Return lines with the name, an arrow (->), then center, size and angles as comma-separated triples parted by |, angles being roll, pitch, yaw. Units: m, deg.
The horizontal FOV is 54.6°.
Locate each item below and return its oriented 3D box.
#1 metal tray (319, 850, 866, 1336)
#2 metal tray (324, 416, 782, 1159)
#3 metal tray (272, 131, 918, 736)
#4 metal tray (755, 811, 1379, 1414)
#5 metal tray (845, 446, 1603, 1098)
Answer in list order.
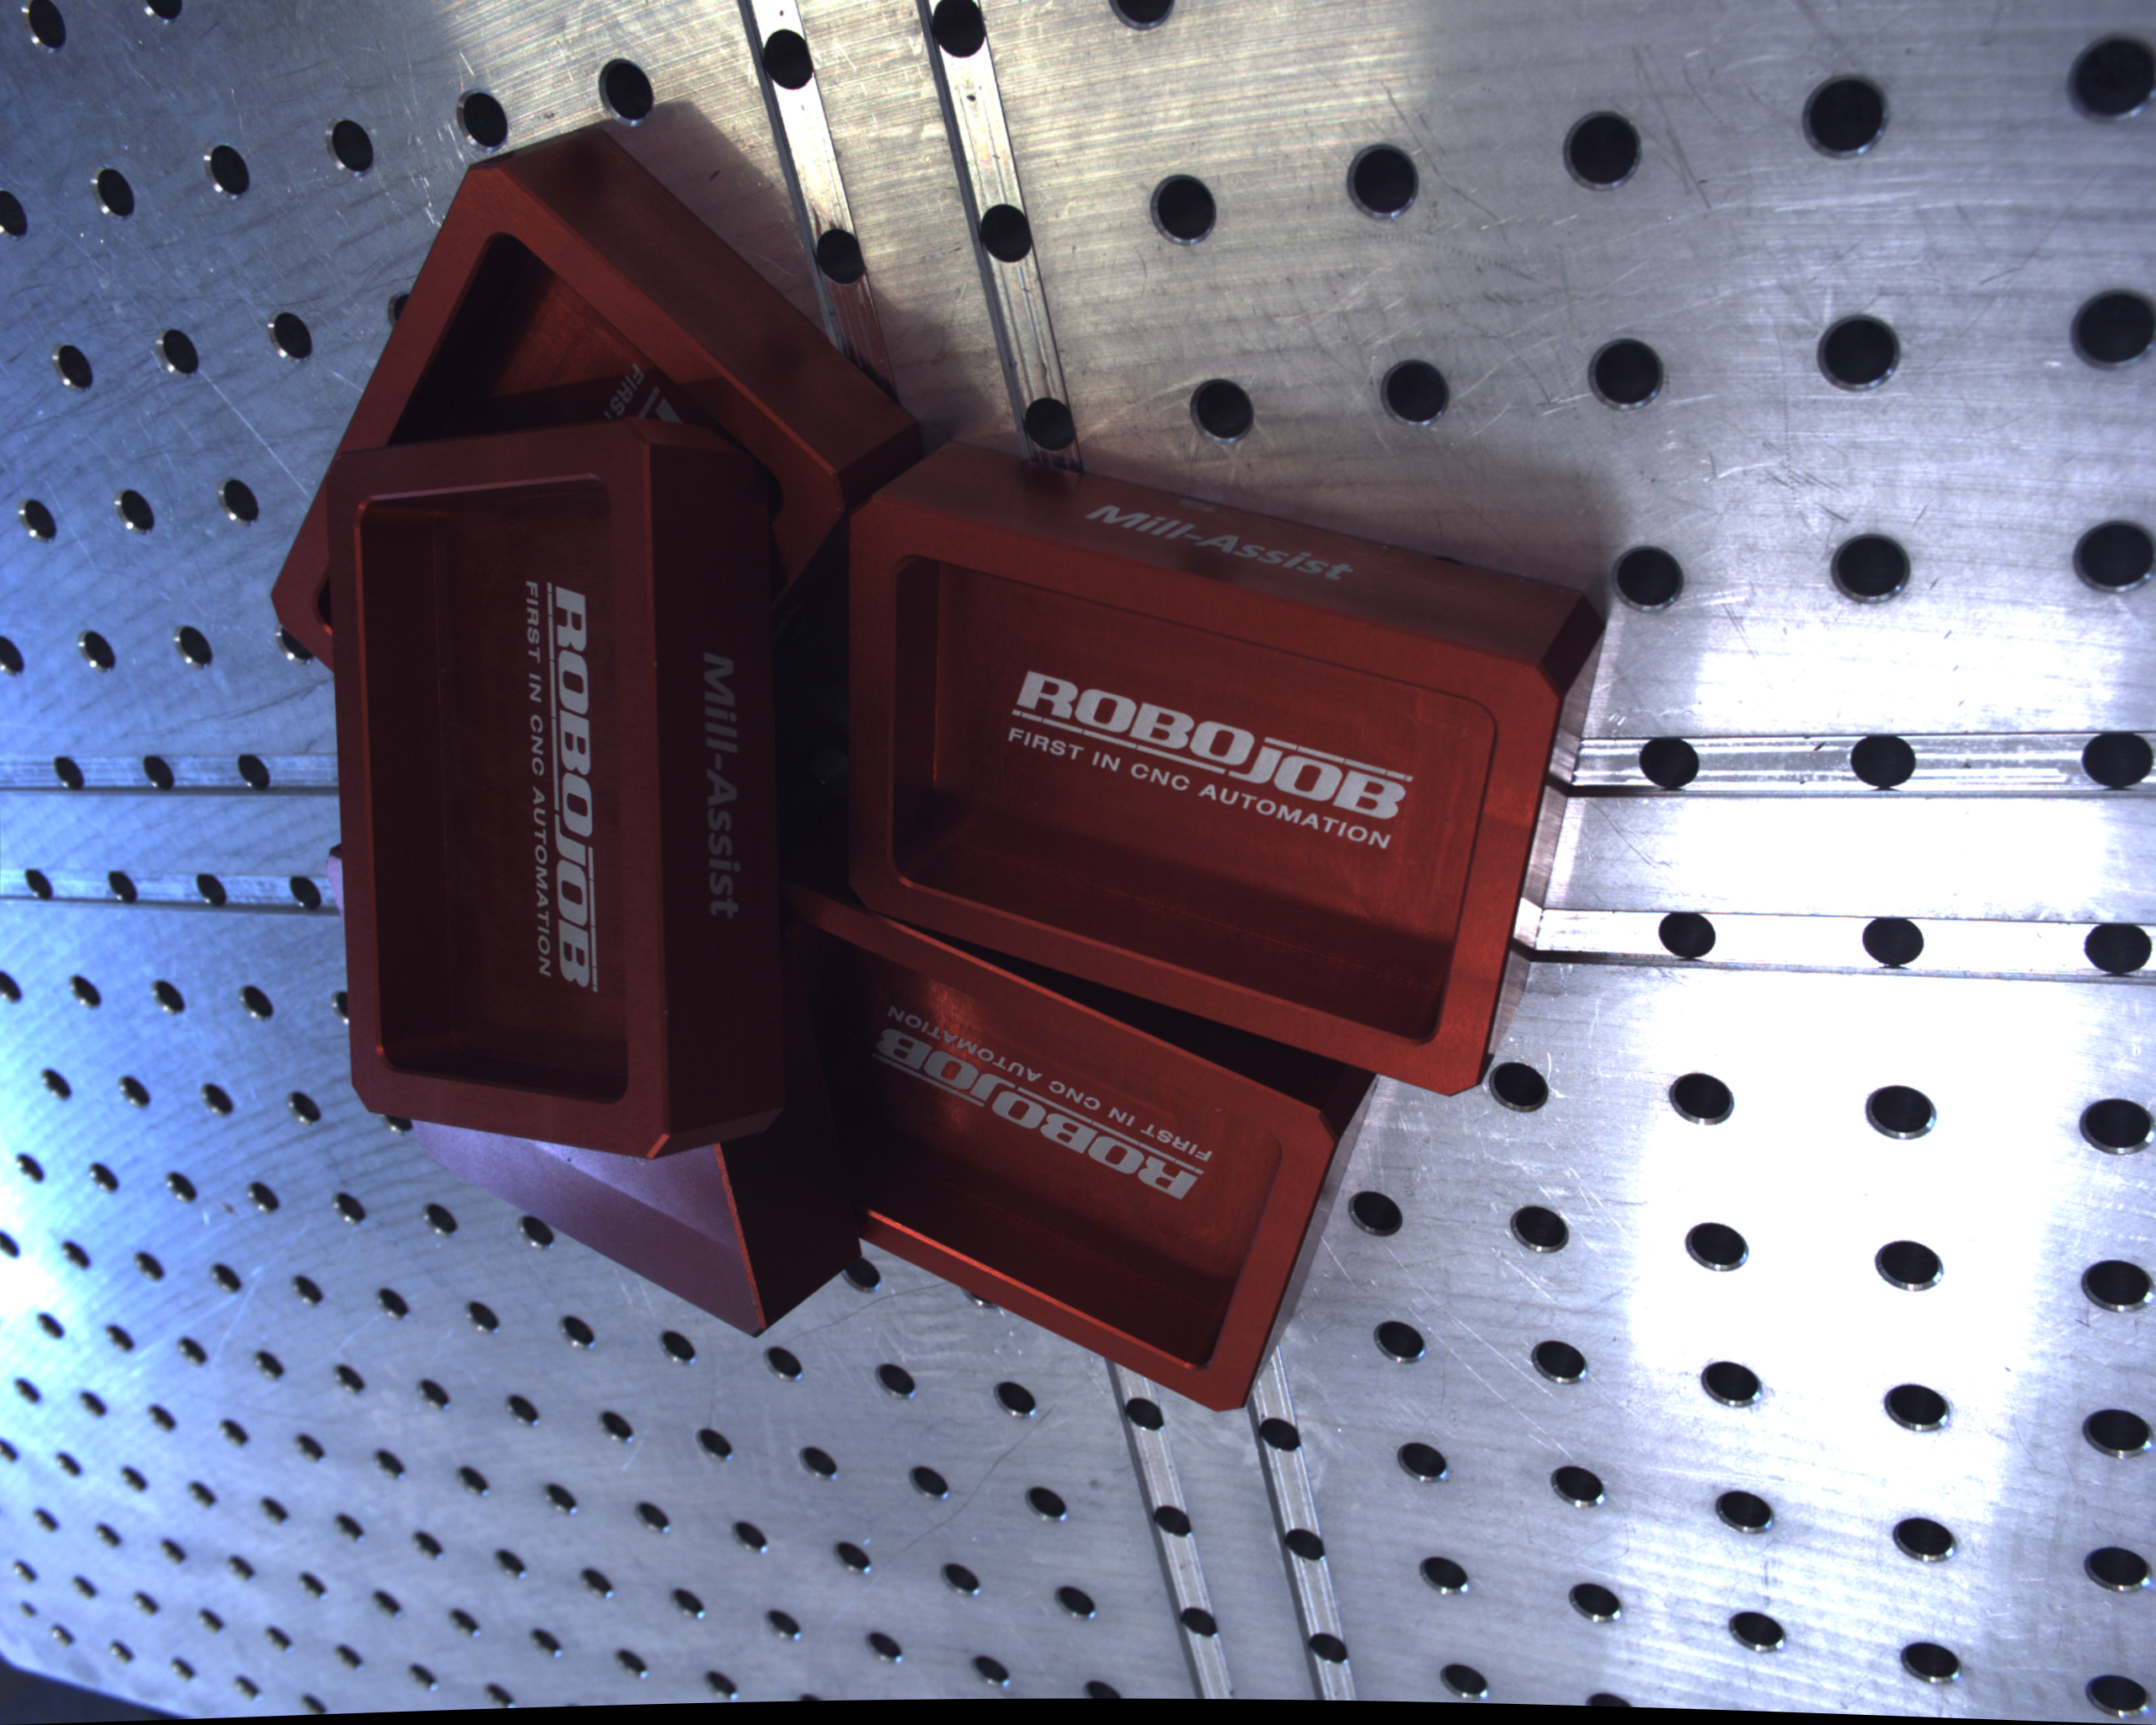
metal tray -> -0.111, 0.044, 0.472 | 0.130, 0.030, 0.089 | 16, 127, 36
metal tray -> -0.101, -0.015, 0.397 | 0.090, 0.030, 0.129 | 2, 96, 35
metal tray -> -0.101, -0.066, 0.420 | 0.090, 0.030, 0.129 | 43, 129, -1
metal tray -> -0.009, 0.053, 0.445 | 0.130, 0.030, 0.089 | 23, 128, 14
metal tray -> 0.021, -0.017, 0.385 | 0.130, 0.030, 0.089 | 17, 126, 18
